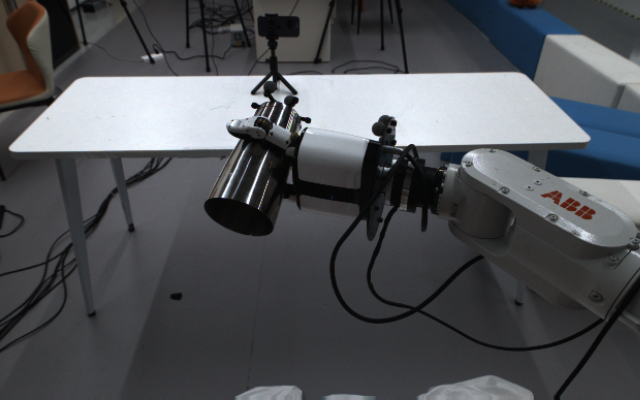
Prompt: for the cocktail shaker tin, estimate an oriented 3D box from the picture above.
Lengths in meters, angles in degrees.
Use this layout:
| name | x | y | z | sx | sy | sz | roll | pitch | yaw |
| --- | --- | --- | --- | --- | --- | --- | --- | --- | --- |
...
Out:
| name | x | y | z | sx | sy | sz | roll | pitch | yaw |
| --- | --- | --- | --- | --- | --- | --- | --- | --- | --- |
| cocktail shaker tin | -0.079 | -0.047 | 0.644 | 0.093 | 0.093 | 0.170 | 10 | 60 | 12 |
